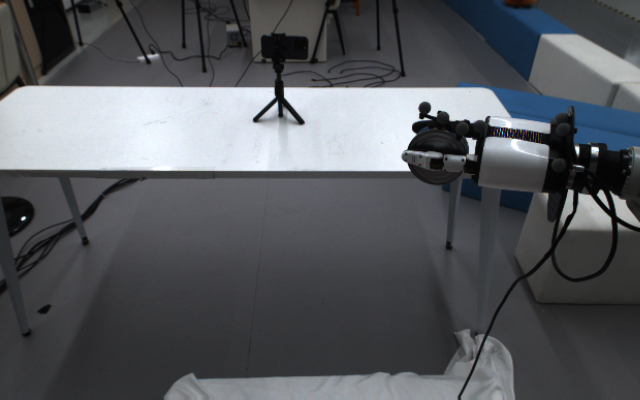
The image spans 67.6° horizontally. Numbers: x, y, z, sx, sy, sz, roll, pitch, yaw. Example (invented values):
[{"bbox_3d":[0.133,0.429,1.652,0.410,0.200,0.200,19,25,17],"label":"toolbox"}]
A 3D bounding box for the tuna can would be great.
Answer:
[{"bbox_3d":[0.173,-0.068,0.707,0.085,0.085,0.034,16,28,19],"label":"tuna can"}]
